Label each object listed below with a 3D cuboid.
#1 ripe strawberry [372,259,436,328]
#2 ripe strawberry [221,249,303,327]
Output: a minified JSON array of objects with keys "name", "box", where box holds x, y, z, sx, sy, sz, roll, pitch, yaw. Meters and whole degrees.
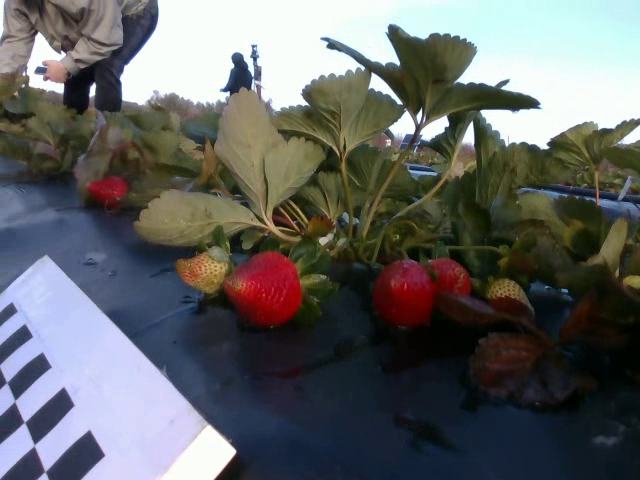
[{"name":"ripe strawberry","box":[0.046,0.031,0.348,0.044,0.042,0.055,-32,-19,5]},{"name":"ripe strawberry","box":[-0.039,0.025,0.357,0.050,0.050,0.065,-19,-20,25]}]
